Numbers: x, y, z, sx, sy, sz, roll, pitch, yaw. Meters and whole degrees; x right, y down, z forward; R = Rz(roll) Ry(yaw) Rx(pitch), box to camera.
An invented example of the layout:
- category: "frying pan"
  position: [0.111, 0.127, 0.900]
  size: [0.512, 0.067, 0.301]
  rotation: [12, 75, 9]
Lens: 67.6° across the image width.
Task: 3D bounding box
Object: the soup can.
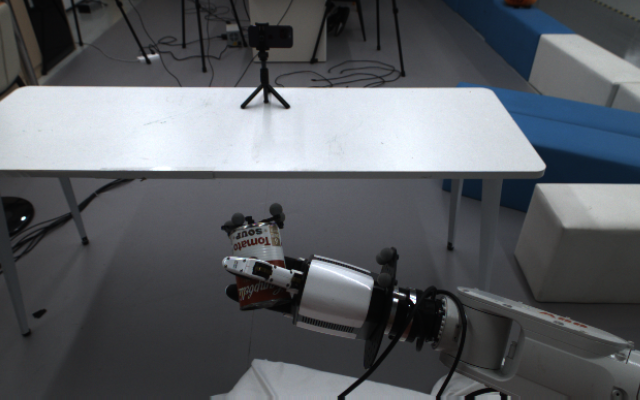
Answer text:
- category: "soup can"
  position: [-0.076, 0.088, 0.630]
  size: [0.067, 0.067, 0.101]
  rotation: [-8, 74, -14]
